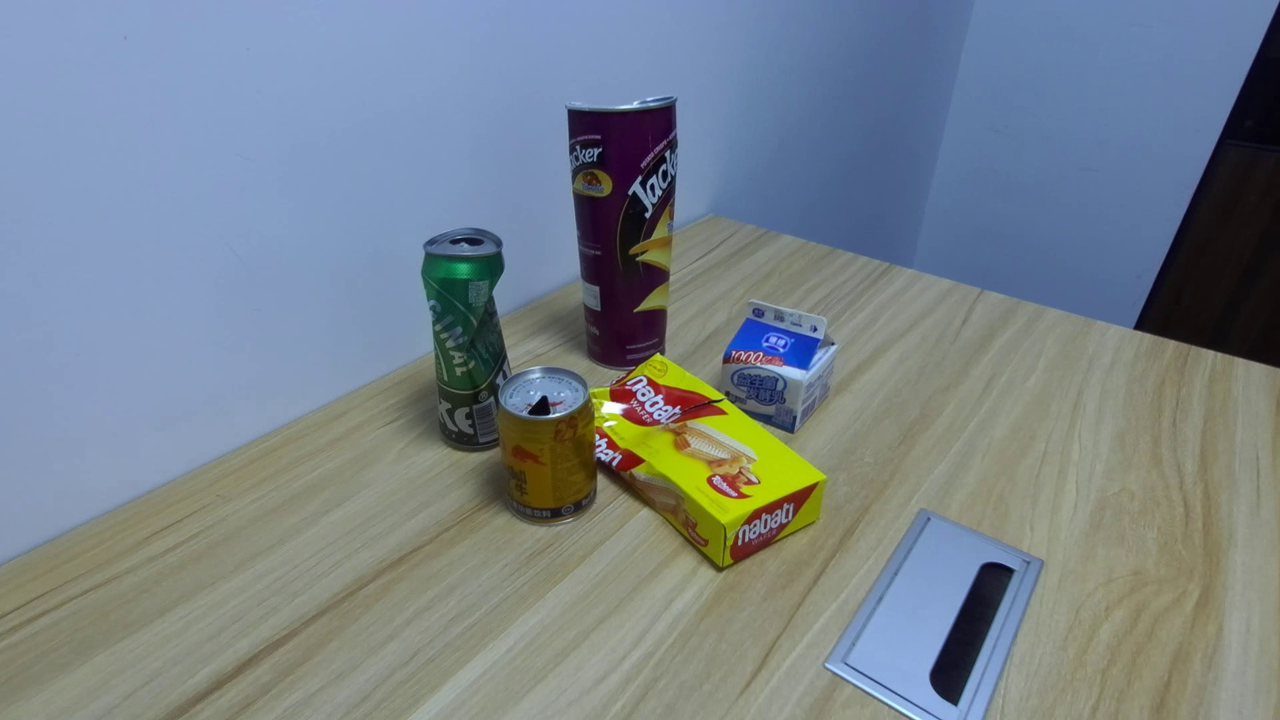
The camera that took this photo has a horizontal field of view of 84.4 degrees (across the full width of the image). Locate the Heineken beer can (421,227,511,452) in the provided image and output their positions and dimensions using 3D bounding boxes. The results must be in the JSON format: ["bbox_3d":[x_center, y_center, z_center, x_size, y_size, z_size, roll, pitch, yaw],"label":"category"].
[{"bbox_3d":[-0.129,-0.011,0.538,0.065,0.164,0.078,26,36,36],"label":"Heineken beer can"}]

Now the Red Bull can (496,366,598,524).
[{"bbox_3d":[-0.063,0.059,0.489,0.067,0.093,0.067,1,32,0],"label":"Red Bull can"}]

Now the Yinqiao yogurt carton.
[{"bbox_3d":[0.117,-0.004,0.591,0.075,0.092,0.074,20,36,29],"label":"Yinqiao yogurt carton"}]

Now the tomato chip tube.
[{"bbox_3d":[-0.012,-0.108,0.623,0.077,0.235,0.076,11,33,17],"label":"tomato chip tube"}]

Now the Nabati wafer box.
[{"bbox_3d":[0.029,0.065,0.531,0.107,0.042,0.203,-19,36,-29],"label":"Nabati wafer box"}]
